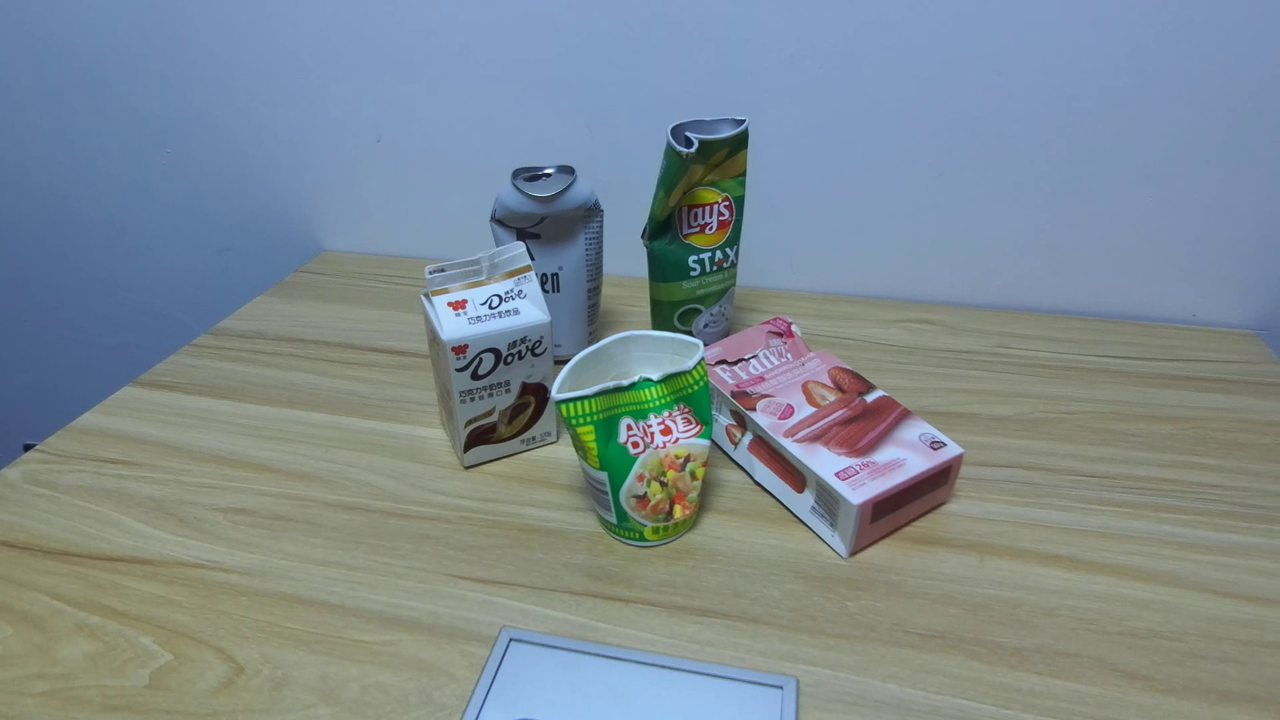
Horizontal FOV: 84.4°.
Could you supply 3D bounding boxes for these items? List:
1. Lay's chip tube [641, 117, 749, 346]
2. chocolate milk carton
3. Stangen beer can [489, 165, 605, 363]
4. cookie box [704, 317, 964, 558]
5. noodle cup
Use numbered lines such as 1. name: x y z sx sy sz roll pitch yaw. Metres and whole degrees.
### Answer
1. Lay's chip tube: 0.045 -0.088 0.571 0.069 0.201 0.077 8 36 13
2. chocolate milk carton: -0.108 -0.010 0.502 0.075 0.148 0.073 -15 37 -24
3. Stangen beer can: -0.074 -0.078 0.595 0.077 0.162 0.065 -28 41 -36
4. cookie box: 0.118 0.047 0.499 0.105 0.059 0.185 -20 42 -23
5. noodle cup: 0.004 0.050 0.439 0.082 0.122 0.075 -6 24 11
